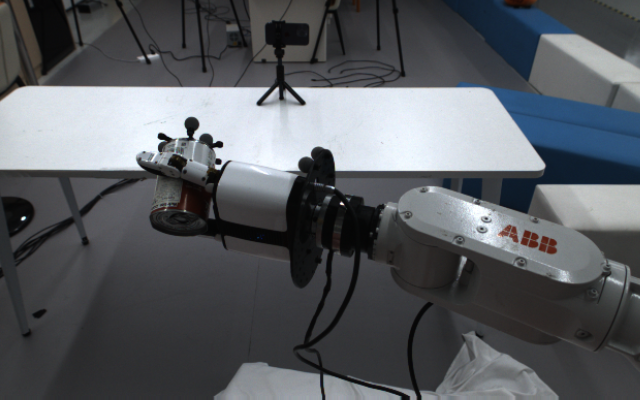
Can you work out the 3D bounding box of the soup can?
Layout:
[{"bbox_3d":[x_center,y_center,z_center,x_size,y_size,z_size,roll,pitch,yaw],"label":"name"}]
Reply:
[{"bbox_3d":[-0.163,-0.016,0.586,0.067,0.067,0.101,0,61,-2],"label":"soup can"}]
